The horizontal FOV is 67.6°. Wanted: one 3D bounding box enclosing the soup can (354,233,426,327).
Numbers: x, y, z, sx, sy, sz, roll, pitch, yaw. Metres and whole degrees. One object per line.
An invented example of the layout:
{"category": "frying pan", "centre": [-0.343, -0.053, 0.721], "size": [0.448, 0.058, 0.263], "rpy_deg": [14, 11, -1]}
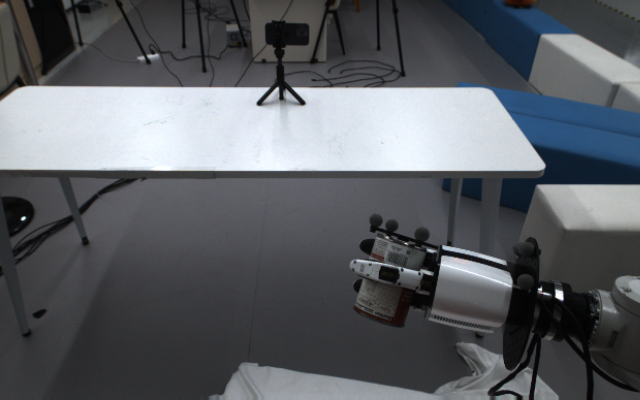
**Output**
{"category": "soup can", "centre": [0.091, 0.100, 0.612], "size": [0.067, 0.101, 0.067], "rpy_deg": [17, -1, 0]}
